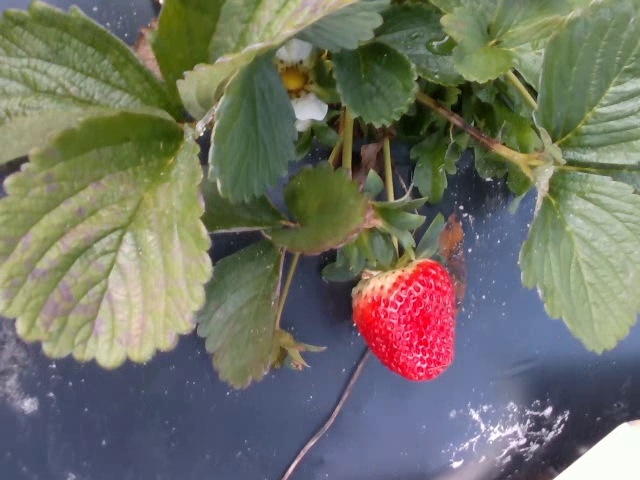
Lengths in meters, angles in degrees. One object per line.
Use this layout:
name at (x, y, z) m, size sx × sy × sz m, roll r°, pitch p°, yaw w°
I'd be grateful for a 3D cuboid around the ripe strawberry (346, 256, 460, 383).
ripe strawberry at (0.037, 0.038, 0.261) m, size 0.050 × 0.053 × 0.049 m, roll -2°, pitch -27°, yaw -25°
